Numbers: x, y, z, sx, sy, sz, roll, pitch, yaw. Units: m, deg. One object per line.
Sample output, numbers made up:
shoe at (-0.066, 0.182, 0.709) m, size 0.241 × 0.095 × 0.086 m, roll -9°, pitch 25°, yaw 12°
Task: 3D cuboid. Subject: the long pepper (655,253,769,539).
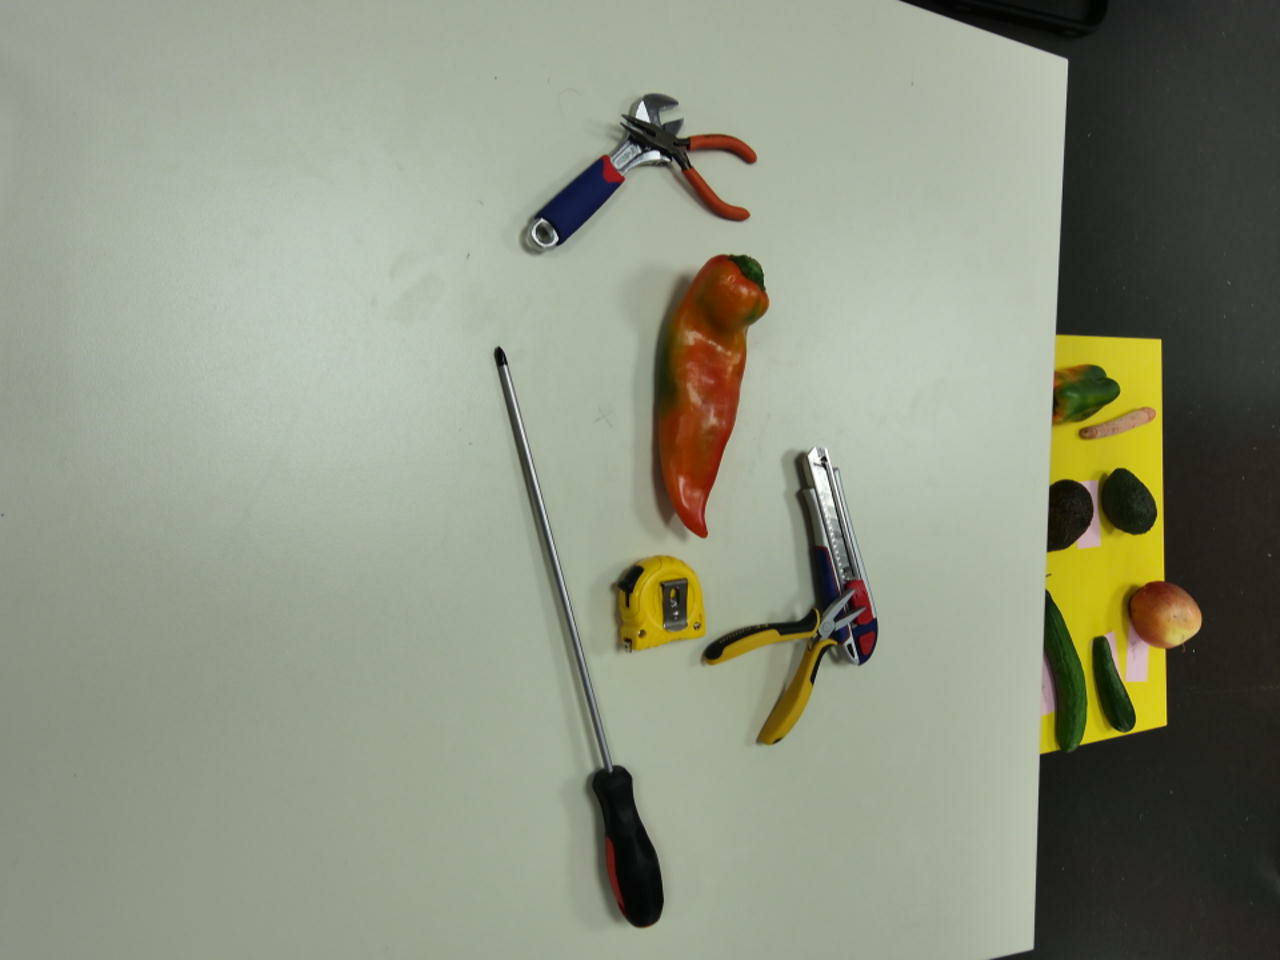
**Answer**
long pepper at (0.051, -0.059, 0.696) m, size 0.066 × 0.065 × 0.199 m, roll 10°, pitch 86°, yaw -28°
